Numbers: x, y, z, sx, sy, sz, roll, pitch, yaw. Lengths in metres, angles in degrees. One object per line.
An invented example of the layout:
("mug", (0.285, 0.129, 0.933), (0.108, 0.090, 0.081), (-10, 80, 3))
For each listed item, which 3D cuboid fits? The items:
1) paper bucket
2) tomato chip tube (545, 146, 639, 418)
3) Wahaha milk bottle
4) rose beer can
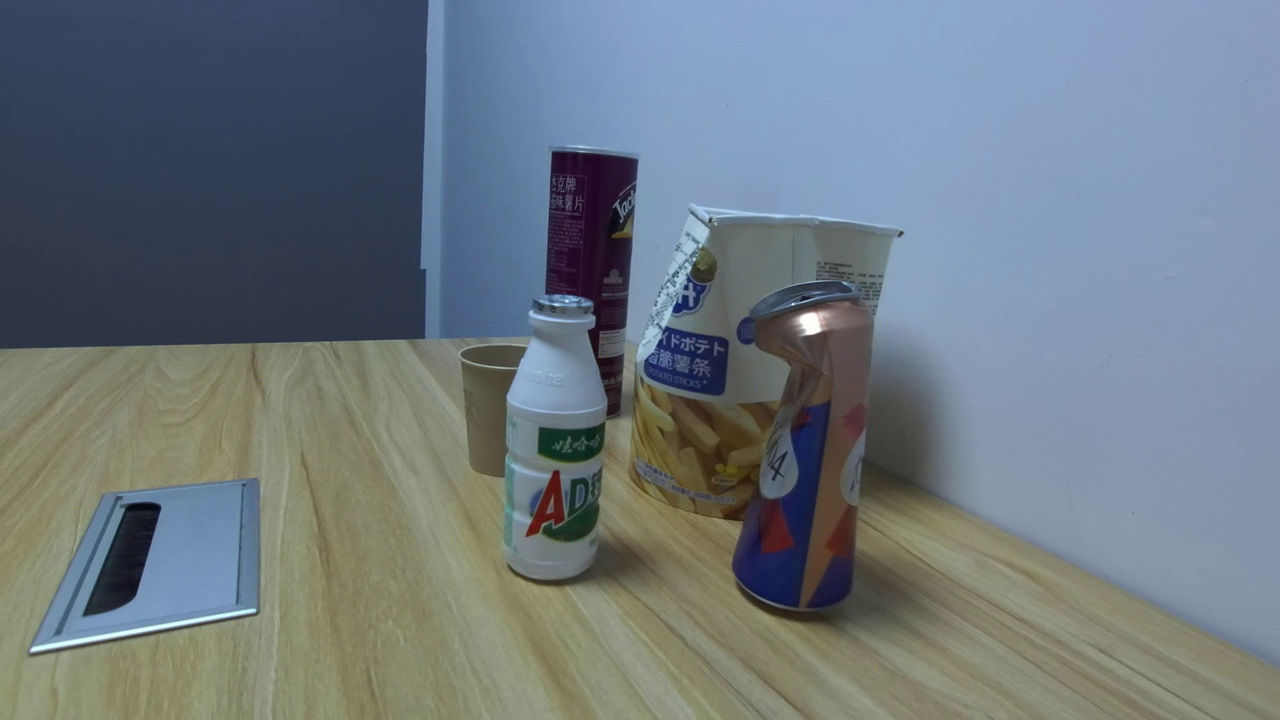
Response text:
("paper bucket", (0.069, -0.009, 0.511), (0.170, 0.202, 0.162), (0, 13, -28))
("tomato chip tube", (-0.047, -0.065, 0.635), (0.078, 0.233, 0.078), (4, 8, 0))
("Wahaha milk bottle", (-0.044, 0.041, 0.374), (0.053, 0.147, 0.053), (5, 13, -1))
("rose beer can", (0.085, 0.045, 0.364), (0.070, 0.168, 0.069), (-14, 20, -42))
